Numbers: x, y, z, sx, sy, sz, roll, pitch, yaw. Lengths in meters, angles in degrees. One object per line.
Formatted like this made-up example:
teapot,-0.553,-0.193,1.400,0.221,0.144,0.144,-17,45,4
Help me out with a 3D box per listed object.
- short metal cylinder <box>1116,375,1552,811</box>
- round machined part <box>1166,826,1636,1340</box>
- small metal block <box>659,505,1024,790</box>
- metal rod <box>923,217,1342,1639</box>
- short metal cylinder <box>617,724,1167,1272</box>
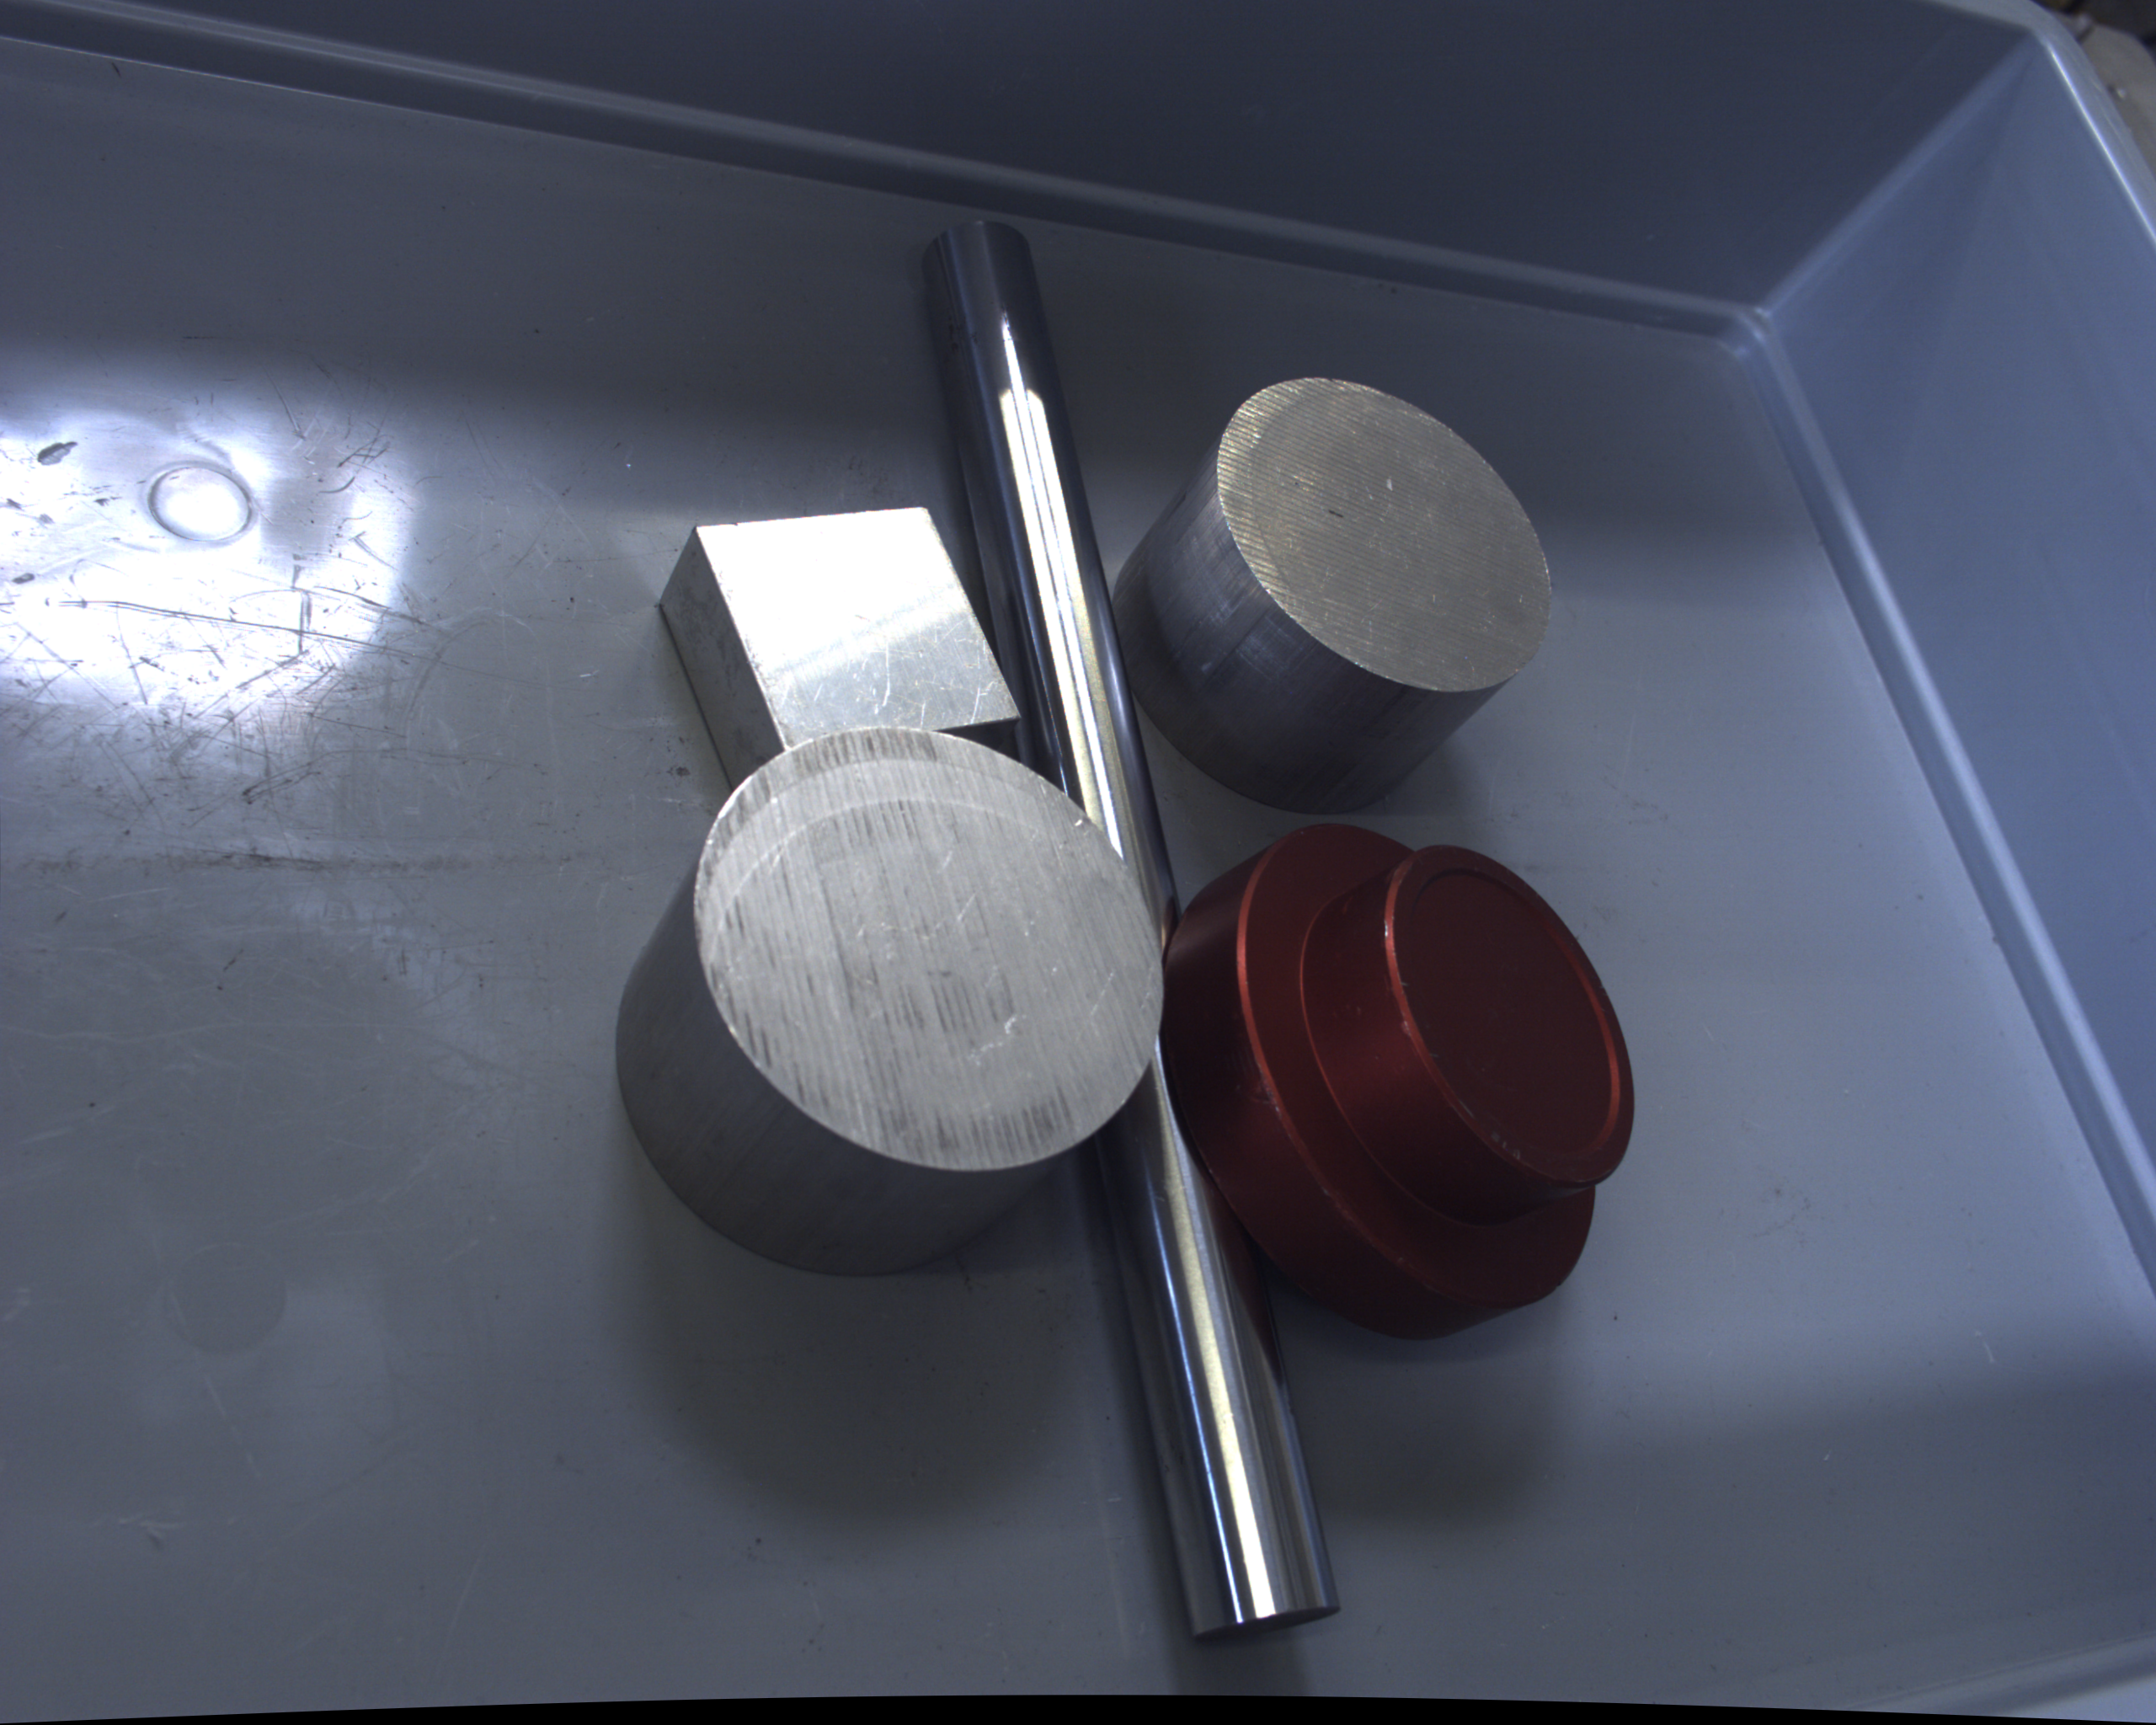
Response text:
short metal cylinder,0.054,-0.058,0.451,0.081,0.050,0.080,14,56,-21
round machined part,0.066,0.036,0.391,0.098,0.042,0.098,27,45,-31
small metal block,-0.046,-0.039,0.402,0.050,0.025,0.050,-12,68,-33
metal rod,0.004,-0.006,0.409,0.025,0.025,0.299,3,60,-27
short metal cylinder,-0.032,0.023,0.355,0.081,0.050,0.080,14,56,-21
